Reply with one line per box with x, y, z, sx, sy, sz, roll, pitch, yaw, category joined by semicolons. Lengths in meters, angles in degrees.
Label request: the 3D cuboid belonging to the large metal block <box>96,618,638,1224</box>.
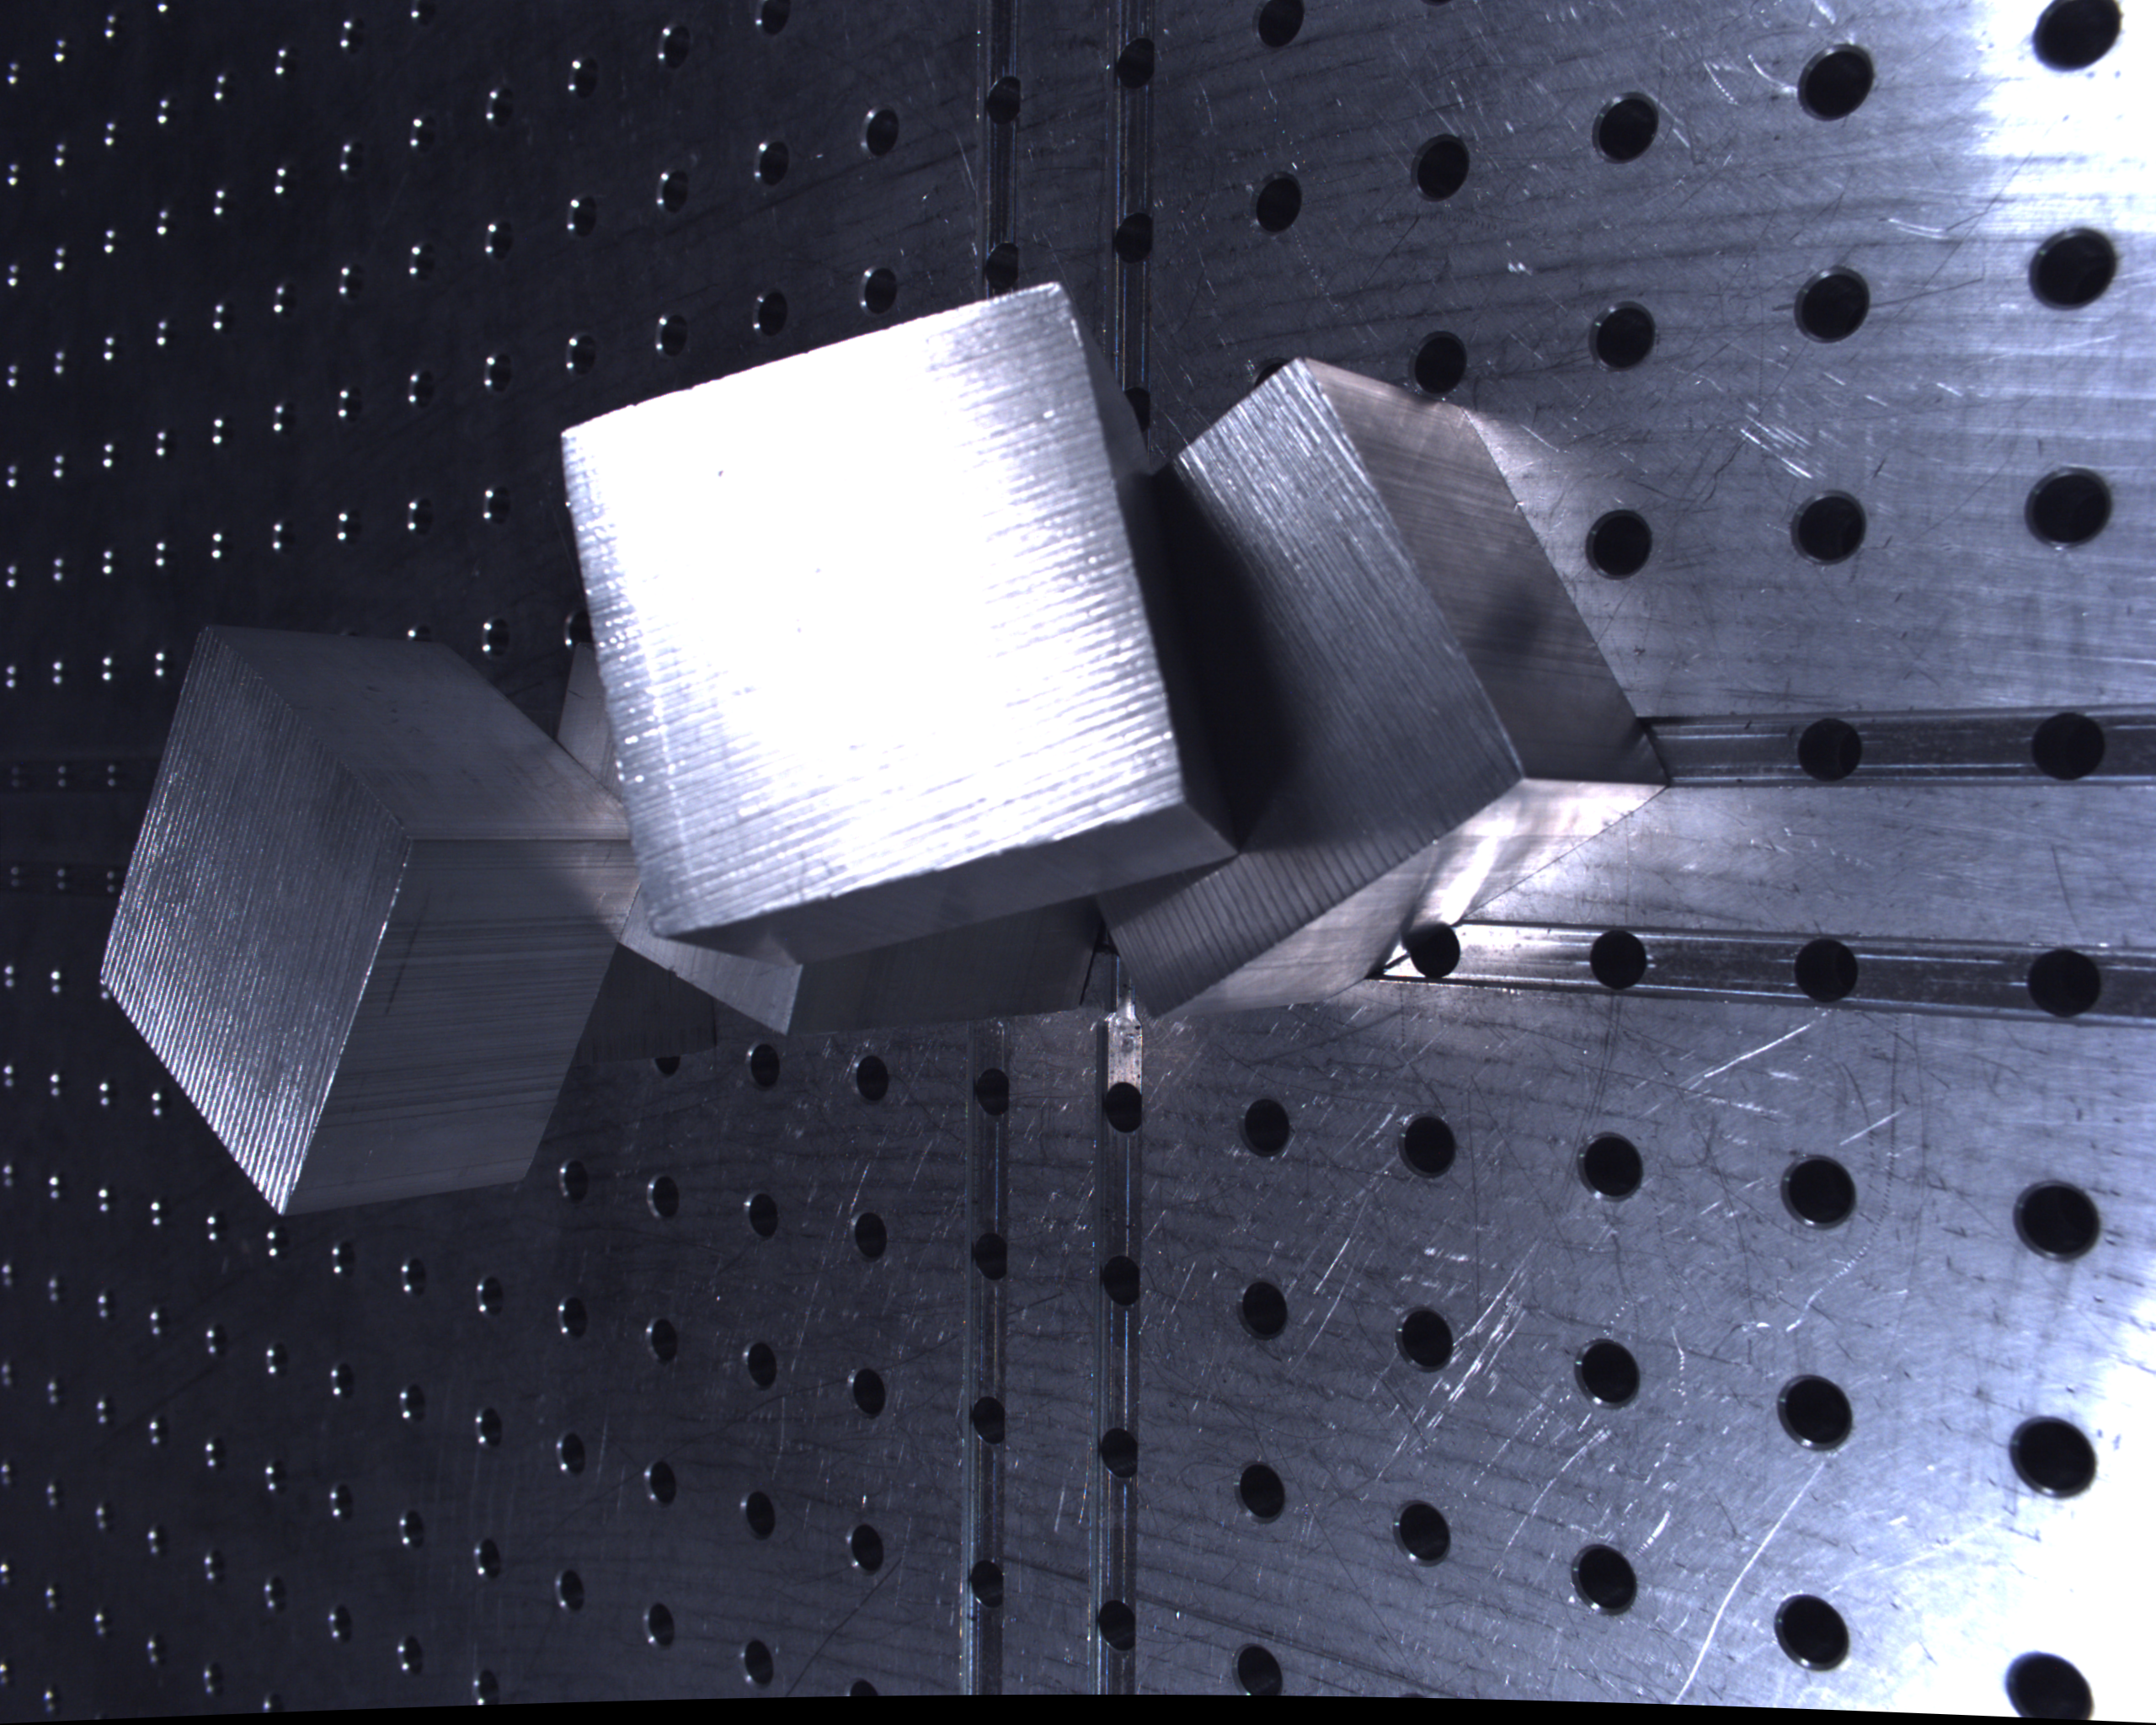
-0.136;0.009;0.397;0.080;0.050;0.079;38;113;33;large metal block

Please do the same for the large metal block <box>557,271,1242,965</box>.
-0.026;-0.034;0.323;0.080;0.050;0.080;-14;80;9;large metal block

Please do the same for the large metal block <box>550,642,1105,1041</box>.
-0.048;-0.006;0.410;0.080;0.081;0.050;24;105;37;large metal block

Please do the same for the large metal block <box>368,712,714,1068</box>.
-0.134;0.009;0.481;0.050;0.081;0.080;-8;85;39;large metal block

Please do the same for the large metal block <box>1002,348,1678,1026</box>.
0.040;-0.027;0.358;0.080;0.050;0.080;-37;68;33;large metal block
